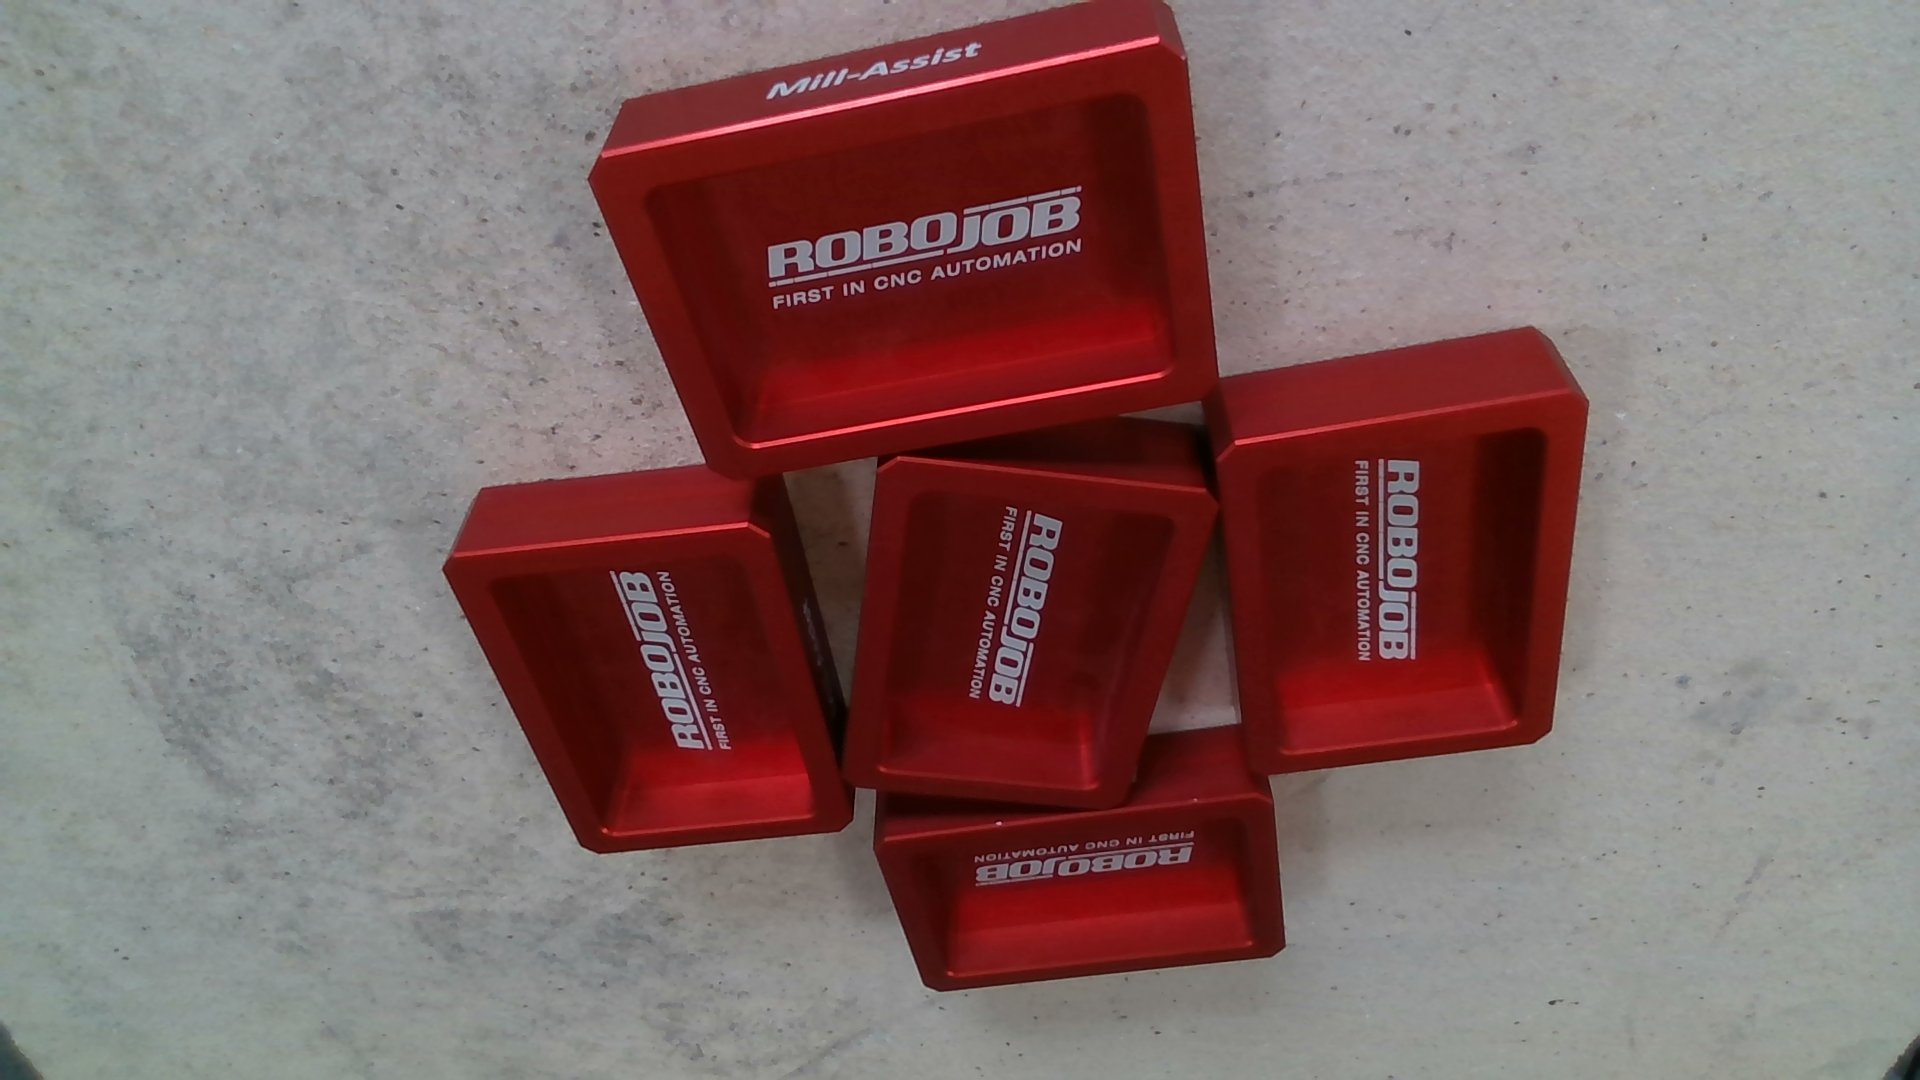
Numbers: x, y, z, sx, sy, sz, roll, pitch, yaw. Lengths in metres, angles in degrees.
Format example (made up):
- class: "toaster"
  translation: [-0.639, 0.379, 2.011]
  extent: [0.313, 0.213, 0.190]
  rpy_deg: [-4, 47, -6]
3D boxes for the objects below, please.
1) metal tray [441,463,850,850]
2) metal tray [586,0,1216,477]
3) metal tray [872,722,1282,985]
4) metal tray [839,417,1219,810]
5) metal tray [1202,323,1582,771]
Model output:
- class: "metal tray"
  translation: [-0.088, 0.039, 0.418]
  extent: [0.090, 0.030, 0.130]
  rpy_deg: [-6, 130, 5]
- class: "metal tray"
  translation: [-0.010, -0.068, 0.328]
  extent: [0.130, 0.030, 0.090]
  rpy_deg: [-9, 129, 8]
- class: "metal tray"
  translation: [0.042, 0.111, 0.480]
  extent: [0.130, 0.030, 0.090]
  rpy_deg: [-8, 129, 7]
- class: "metal tray"
  translation: [0.015, 0.022, 0.404]
  extent: [0.090, 0.030, 0.130]
  rpy_deg: [7, 129, -3]
- class: "metal tray"
  translation: [0.120, 0.008, 0.393]
  extent: [0.090, 0.030, 0.130]
  rpy_deg: [-8, 129, 7]
